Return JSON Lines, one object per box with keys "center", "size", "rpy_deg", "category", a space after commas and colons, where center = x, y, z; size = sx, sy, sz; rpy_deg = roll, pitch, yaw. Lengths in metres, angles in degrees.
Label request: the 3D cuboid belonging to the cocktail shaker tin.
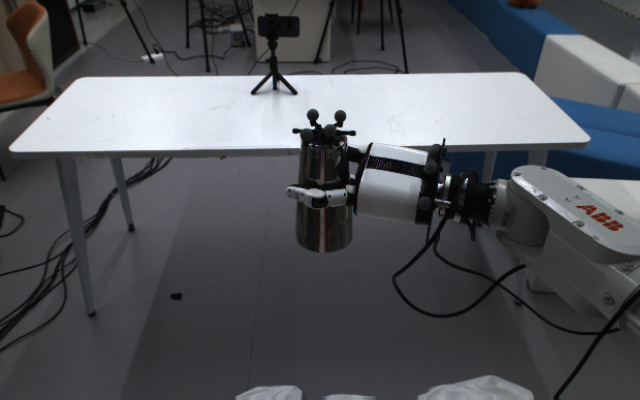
{"center": [0.008, -0.017, 0.726], "size": [0.093, 0.170, 0.093], "rpy_deg": [0, 33, 0], "category": "cocktail shaker tin"}
